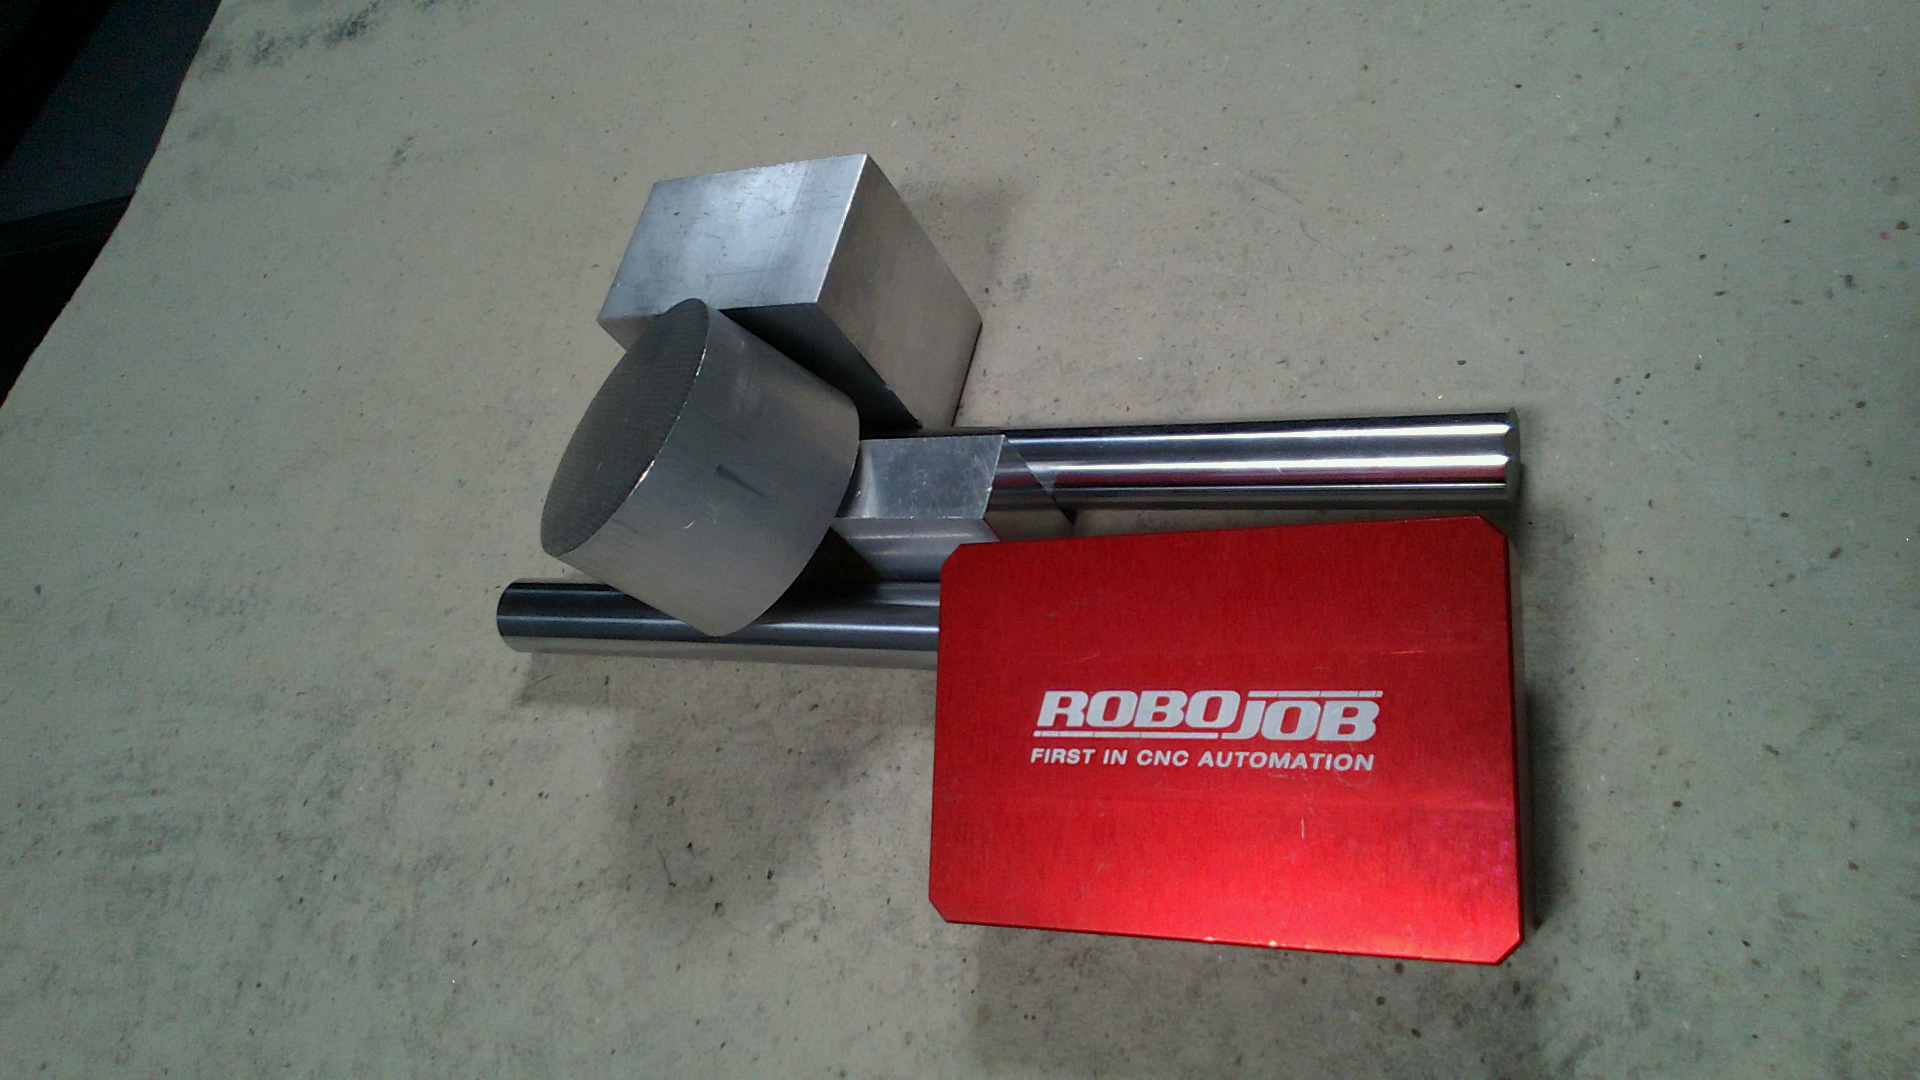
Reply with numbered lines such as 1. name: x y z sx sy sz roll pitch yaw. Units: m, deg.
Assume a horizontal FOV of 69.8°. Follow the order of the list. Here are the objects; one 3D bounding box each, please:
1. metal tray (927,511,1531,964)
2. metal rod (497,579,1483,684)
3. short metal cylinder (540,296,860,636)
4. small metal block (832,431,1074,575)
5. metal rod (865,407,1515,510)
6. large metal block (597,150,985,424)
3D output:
1. metal tray: 0.058 0.044 0.314 0.130 0.030 0.090 -3 78 25
2. metal rod: -0.013 0.024 0.387 0.299 0.025 0.025 0 61 28
3. short metal cylinder: -0.073 -0.020 0.384 0.080 0.050 0.080 -36 36 33
4. small metal block: -0.003 -0.005 0.382 0.050 0.050 0.025 1 62 29
5. metal rod: 0.003 -0.021 0.406 0.299 0.025 0.025 1 62 29
6. large metal block: -0.050 -0.070 0.429 0.080 0.080 0.050 1 62 29
